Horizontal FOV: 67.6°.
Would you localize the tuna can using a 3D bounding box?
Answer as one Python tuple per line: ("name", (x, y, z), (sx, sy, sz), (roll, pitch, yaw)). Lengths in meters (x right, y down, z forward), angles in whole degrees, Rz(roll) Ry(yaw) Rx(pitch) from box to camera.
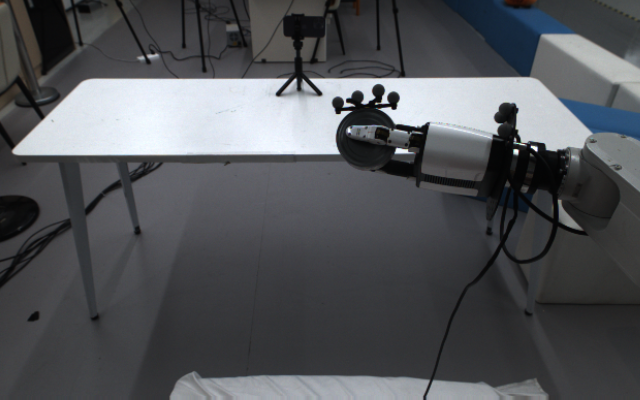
("tuna can", (0.068, -0.086, 0.690), (0.085, 0.085, 0.034), (10, -6, 11))
